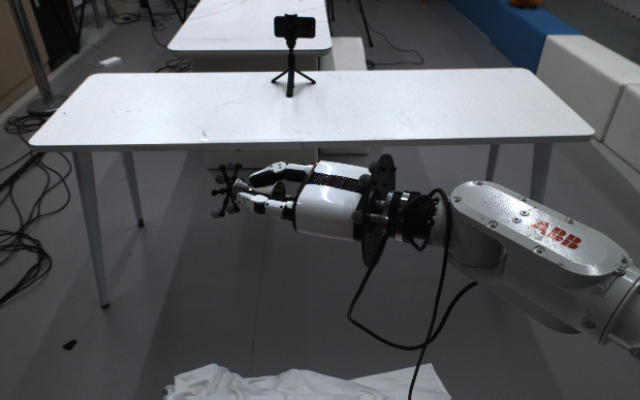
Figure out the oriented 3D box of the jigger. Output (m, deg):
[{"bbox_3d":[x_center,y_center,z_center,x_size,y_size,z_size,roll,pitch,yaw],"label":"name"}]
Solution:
[{"bbox_3d":[-0.086,-0.013,0.721,0.071,0.043,0.043,7,34,23],"label":"jigger"}]
